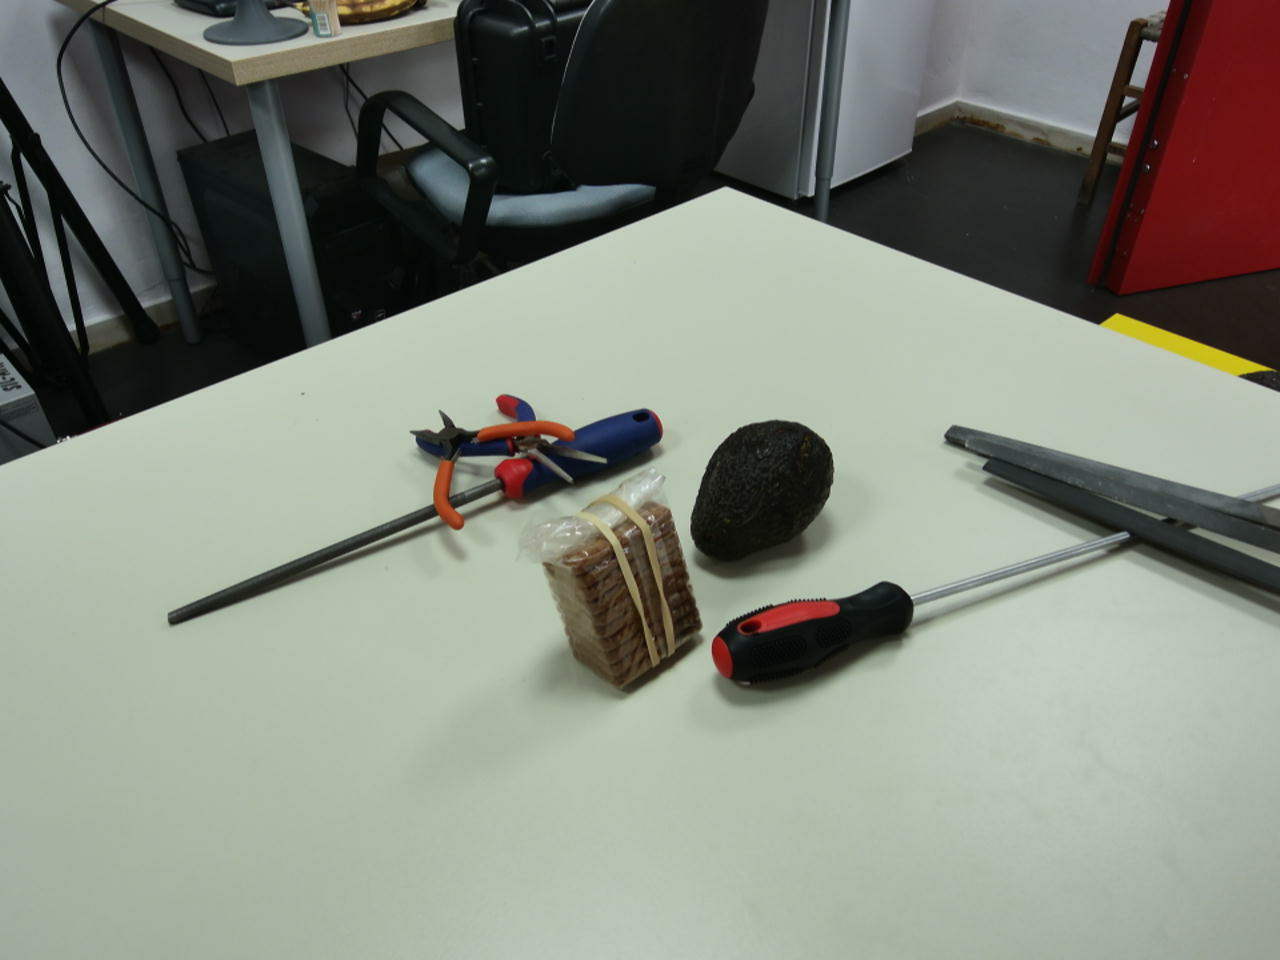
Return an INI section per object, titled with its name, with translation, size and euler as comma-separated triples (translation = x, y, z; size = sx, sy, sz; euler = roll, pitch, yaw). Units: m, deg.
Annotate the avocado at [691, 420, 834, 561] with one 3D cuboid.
[avocado]
translation = 0.069, 0.002, 0.582
size = 0.090, 0.069, 0.070
euler = -10, 38, -12
